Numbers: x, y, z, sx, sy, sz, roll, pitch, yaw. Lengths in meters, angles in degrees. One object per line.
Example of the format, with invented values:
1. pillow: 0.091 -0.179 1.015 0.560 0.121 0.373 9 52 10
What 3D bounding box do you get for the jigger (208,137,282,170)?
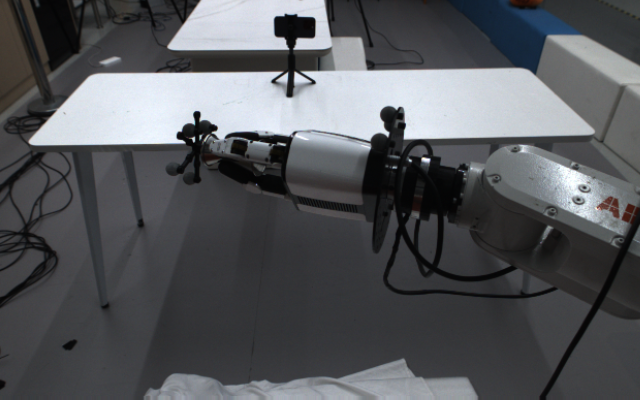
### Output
1. jigger: -0.098 -0.059 0.572 0.071 0.043 0.043 10 35 16
